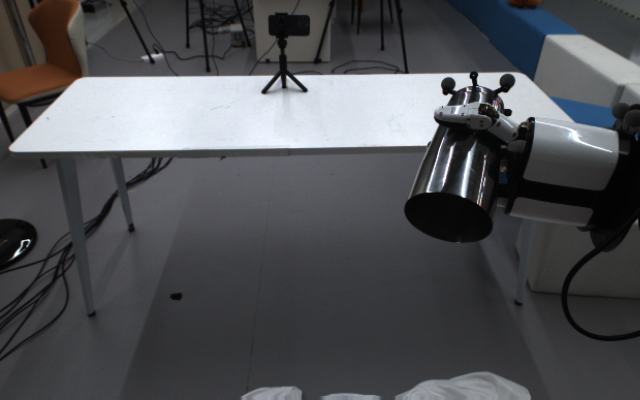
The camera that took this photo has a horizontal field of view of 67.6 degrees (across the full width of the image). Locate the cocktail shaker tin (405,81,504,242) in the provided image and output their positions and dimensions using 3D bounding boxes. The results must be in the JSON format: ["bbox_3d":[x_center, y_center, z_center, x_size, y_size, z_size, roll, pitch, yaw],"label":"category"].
[{"bbox_3d":[0.161,-0.049,0.546,0.093,0.093,0.170,14,57,16],"label":"cocktail shaker tin"}]
